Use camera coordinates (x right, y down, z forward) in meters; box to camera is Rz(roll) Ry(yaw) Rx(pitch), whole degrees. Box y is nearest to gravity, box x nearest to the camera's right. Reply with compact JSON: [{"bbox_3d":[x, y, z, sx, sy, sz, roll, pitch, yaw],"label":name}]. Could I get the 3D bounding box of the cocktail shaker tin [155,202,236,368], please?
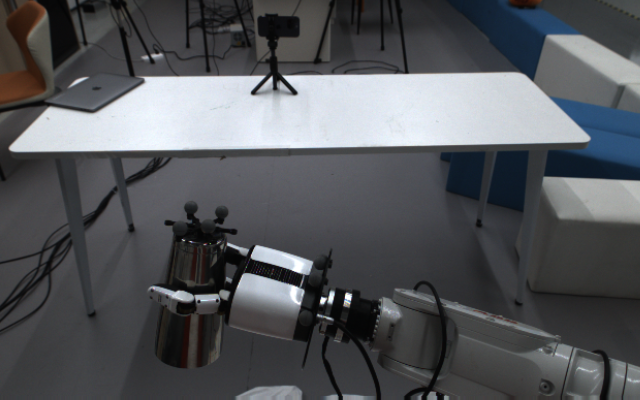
[{"bbox_3d":[-0.163,0.121,0.633,0.093,0.170,0.093,10,19,-3],"label":"cocktail shaker tin"}]
